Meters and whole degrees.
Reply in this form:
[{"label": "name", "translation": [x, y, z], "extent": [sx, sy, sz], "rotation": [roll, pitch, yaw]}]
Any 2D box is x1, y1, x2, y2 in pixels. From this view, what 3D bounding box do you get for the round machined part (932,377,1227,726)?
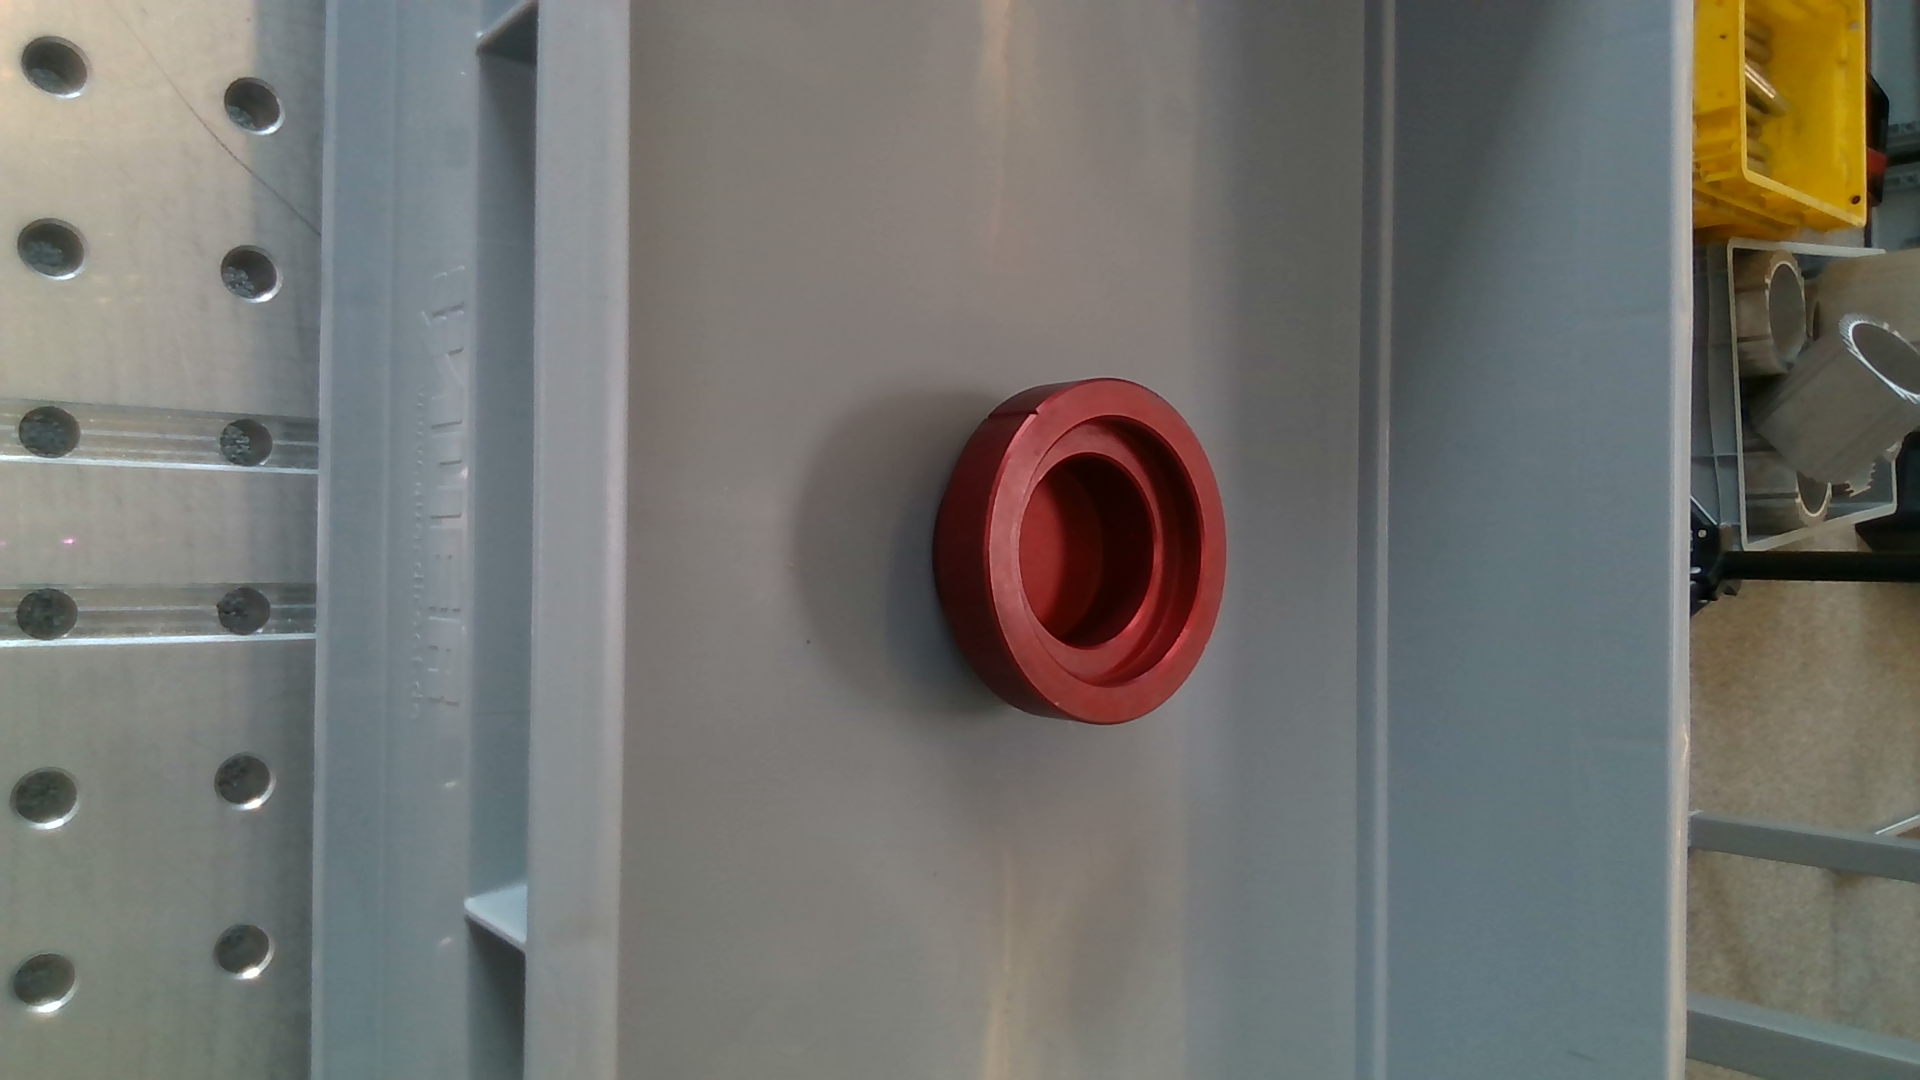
[{"label": "round machined part", "translation": [0.031, 0.003, 0.402], "extent": [0.098, 0.042, 0.098], "rotation": [0, 90, -40]}]
